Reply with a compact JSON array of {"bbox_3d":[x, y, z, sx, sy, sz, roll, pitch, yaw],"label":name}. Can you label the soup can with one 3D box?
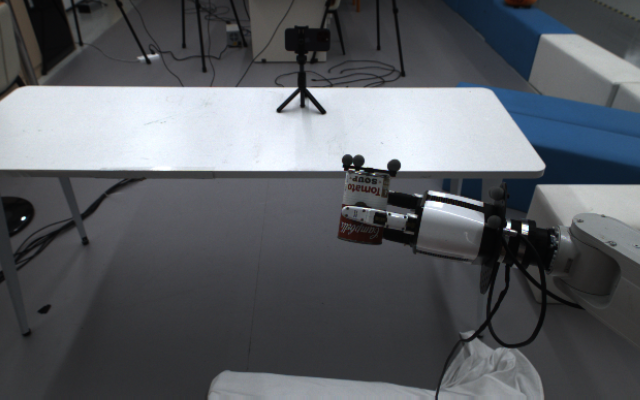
[{"bbox_3d":[0.067,0.009,0.715,0.067,0.101,0.067,7,4,0],"label":"soup can"}]
